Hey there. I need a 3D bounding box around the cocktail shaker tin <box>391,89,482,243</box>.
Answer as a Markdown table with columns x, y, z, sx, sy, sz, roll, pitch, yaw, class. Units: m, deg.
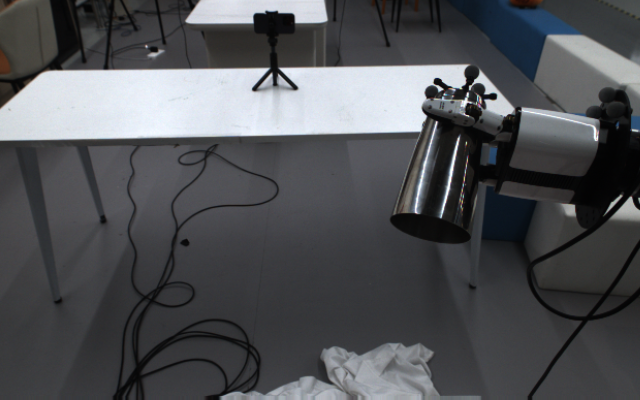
| x | y | z | sx | sy | sz | roll | pitch | yaw | class |
| --- | --- | --- | --- | --- | --- | --- | --- | --- | --- |
| 0.151 | -0.047 | 0.578 | 0.093 | 0.093 | 0.170 | 13 | 72 | 15 | cocktail shaker tin |
